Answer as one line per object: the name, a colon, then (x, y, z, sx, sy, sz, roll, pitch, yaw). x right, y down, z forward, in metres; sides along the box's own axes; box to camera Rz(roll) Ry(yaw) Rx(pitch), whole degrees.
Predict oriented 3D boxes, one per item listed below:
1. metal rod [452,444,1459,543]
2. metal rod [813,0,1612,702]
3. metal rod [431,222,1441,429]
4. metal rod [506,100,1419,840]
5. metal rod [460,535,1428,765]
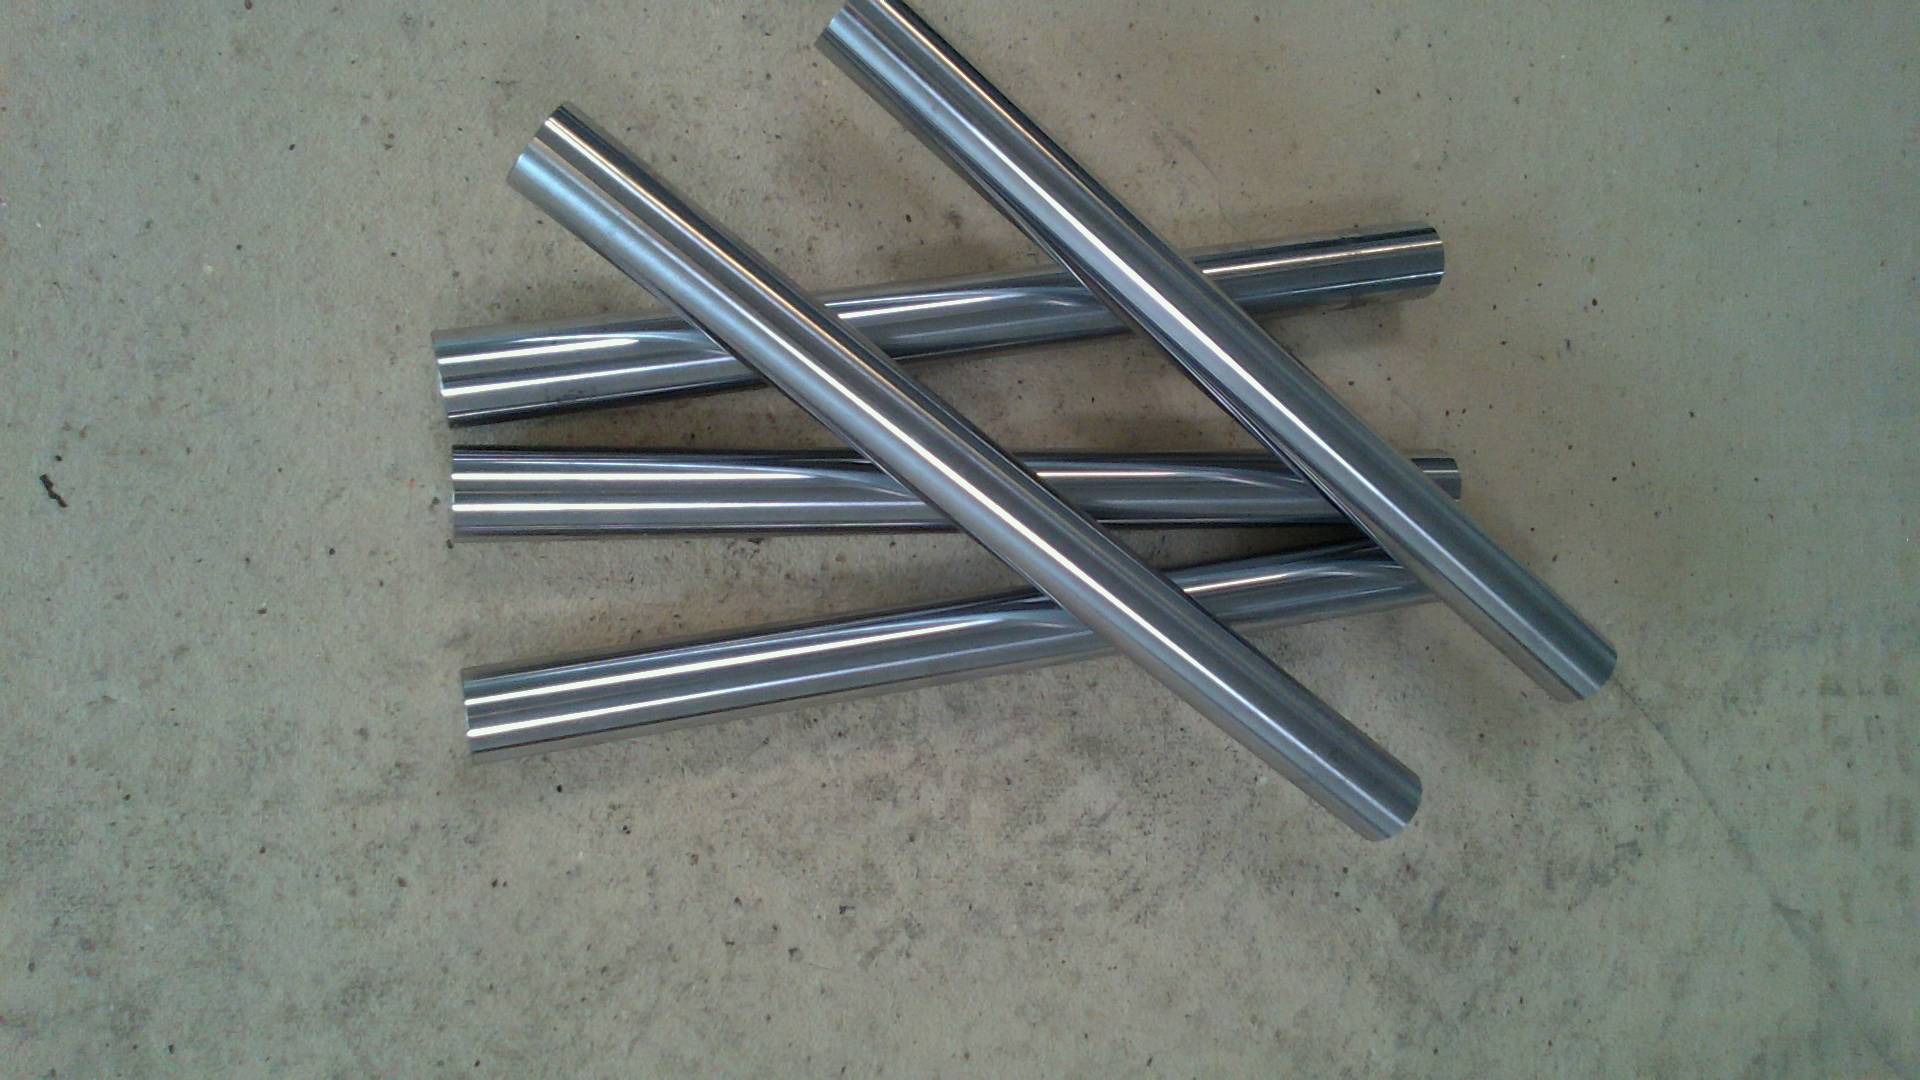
metal rod: (0.013, -0.015, 0.398, 0.301, 0.025, 0.025, -1, 91, -20)
metal rod: (0.083, -0.048, 0.397, 0.301, 0.025, 0.025, 38, 78, -16)
metal rod: (0.009, -0.065, 0.397, 0.301, 0.025, 0.025, -10, 94, -20)
metal rod: (0.013, -0.008, 0.372, 0.301, 0.025, 0.025, 37, 78, -16)
metal rod: (0.015, 0.026, 0.399, 0.301, 0.025, 0.025, -8, 93, -20)
